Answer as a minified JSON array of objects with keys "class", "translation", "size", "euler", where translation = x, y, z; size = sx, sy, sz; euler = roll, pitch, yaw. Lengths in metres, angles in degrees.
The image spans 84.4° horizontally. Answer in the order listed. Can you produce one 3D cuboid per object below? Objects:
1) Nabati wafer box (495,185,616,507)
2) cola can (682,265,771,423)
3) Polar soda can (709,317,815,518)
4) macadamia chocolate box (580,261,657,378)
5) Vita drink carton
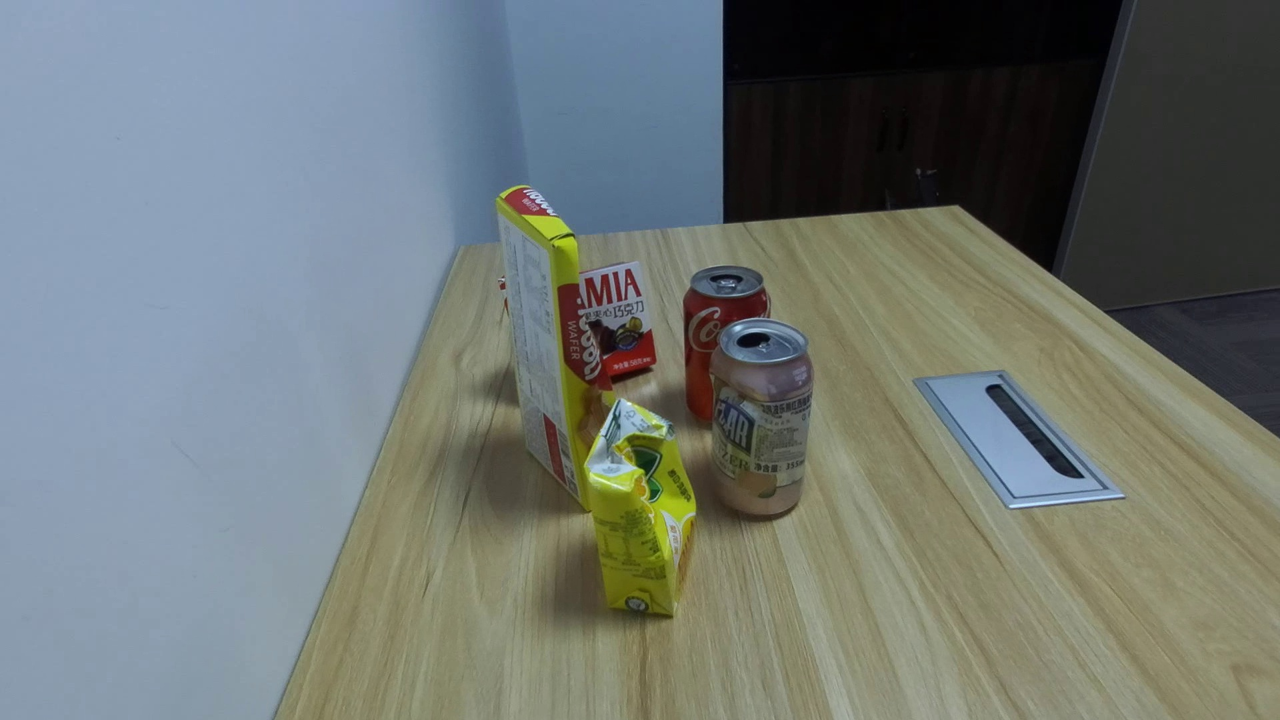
[{"class":"Nabati wafer box","translation":[-0.052,-0.004,0.477],"size":[0.043,0.205,0.112],"euler":[-23,37,-25]},{"class":"cola can","translation":[0.068,-0.011,0.555],"size":[0.068,0.120,0.068],"euler":[-2,29,1]},{"class":"Polar soda can","translation":[0.080,0.038,0.472],"size":[0.067,0.122,0.074],"euler":[5,33,13]},{"class":"macadamia chocolate box","translation":[-0.052,-0.033,0.612],"size":[0.127,0.112,0.056],"euler":[-16,32,-18]},{"class":"Vita drink carton","translation":[0.004,0.086,0.412],"size":[0.046,0.110,0.071],"euler":[4,33,16]}]
